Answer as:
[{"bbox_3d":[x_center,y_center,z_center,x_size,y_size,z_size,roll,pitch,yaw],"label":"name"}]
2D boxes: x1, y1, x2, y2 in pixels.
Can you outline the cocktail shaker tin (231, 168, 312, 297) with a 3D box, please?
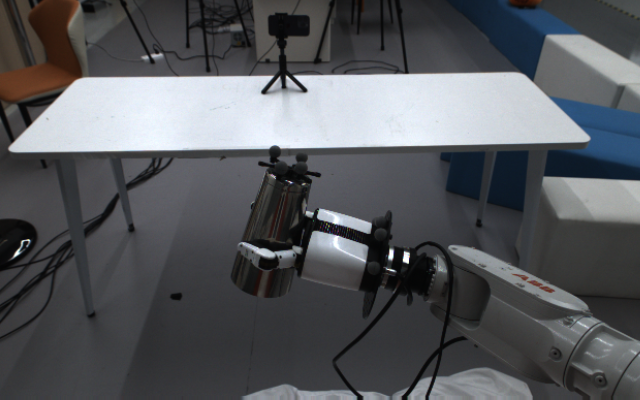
[{"bbox_3d":[-0.065,0.042,0.691,0.093,0.170,0.093,15,20,-5],"label":"cocktail shaker tin"}]
